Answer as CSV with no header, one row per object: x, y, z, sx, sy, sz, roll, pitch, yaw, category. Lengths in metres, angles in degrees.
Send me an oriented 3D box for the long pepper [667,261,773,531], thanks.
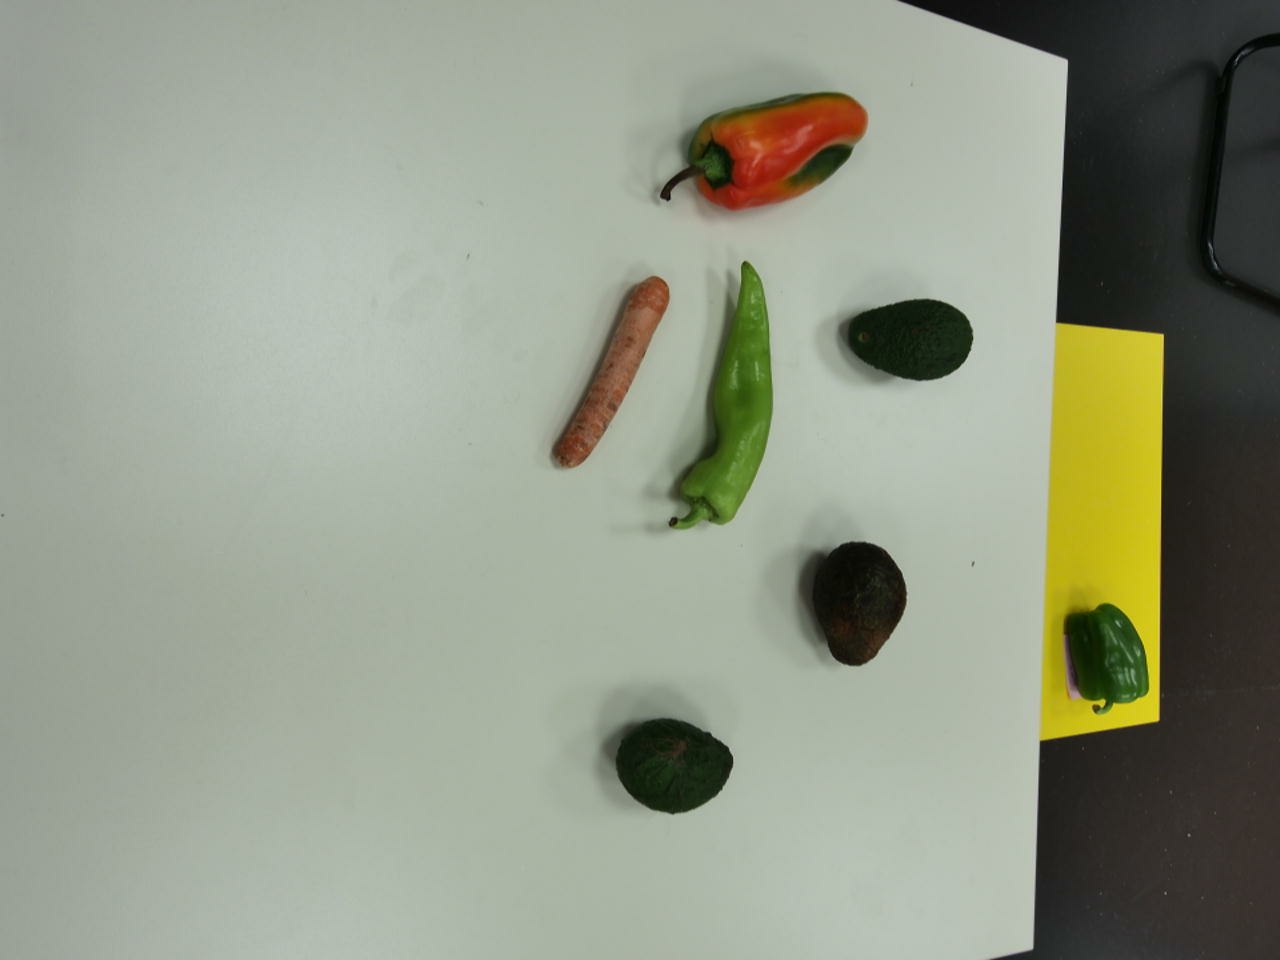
0.071,-0.054,0.724,0.065,0.045,0.204,22,80,-27,long pepper
